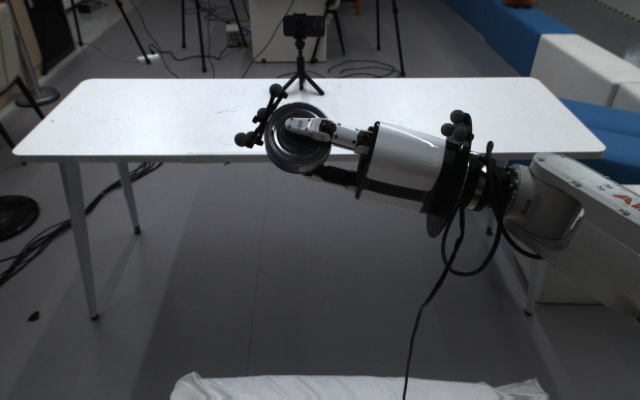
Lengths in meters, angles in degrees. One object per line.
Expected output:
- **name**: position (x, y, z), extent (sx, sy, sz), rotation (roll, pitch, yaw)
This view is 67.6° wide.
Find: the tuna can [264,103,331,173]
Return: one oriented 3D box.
- **tuna can**: position (-0.023, -0.075, 0.605), extent (0.085, 0.034, 0.085), rotation (1, 76, -6)
